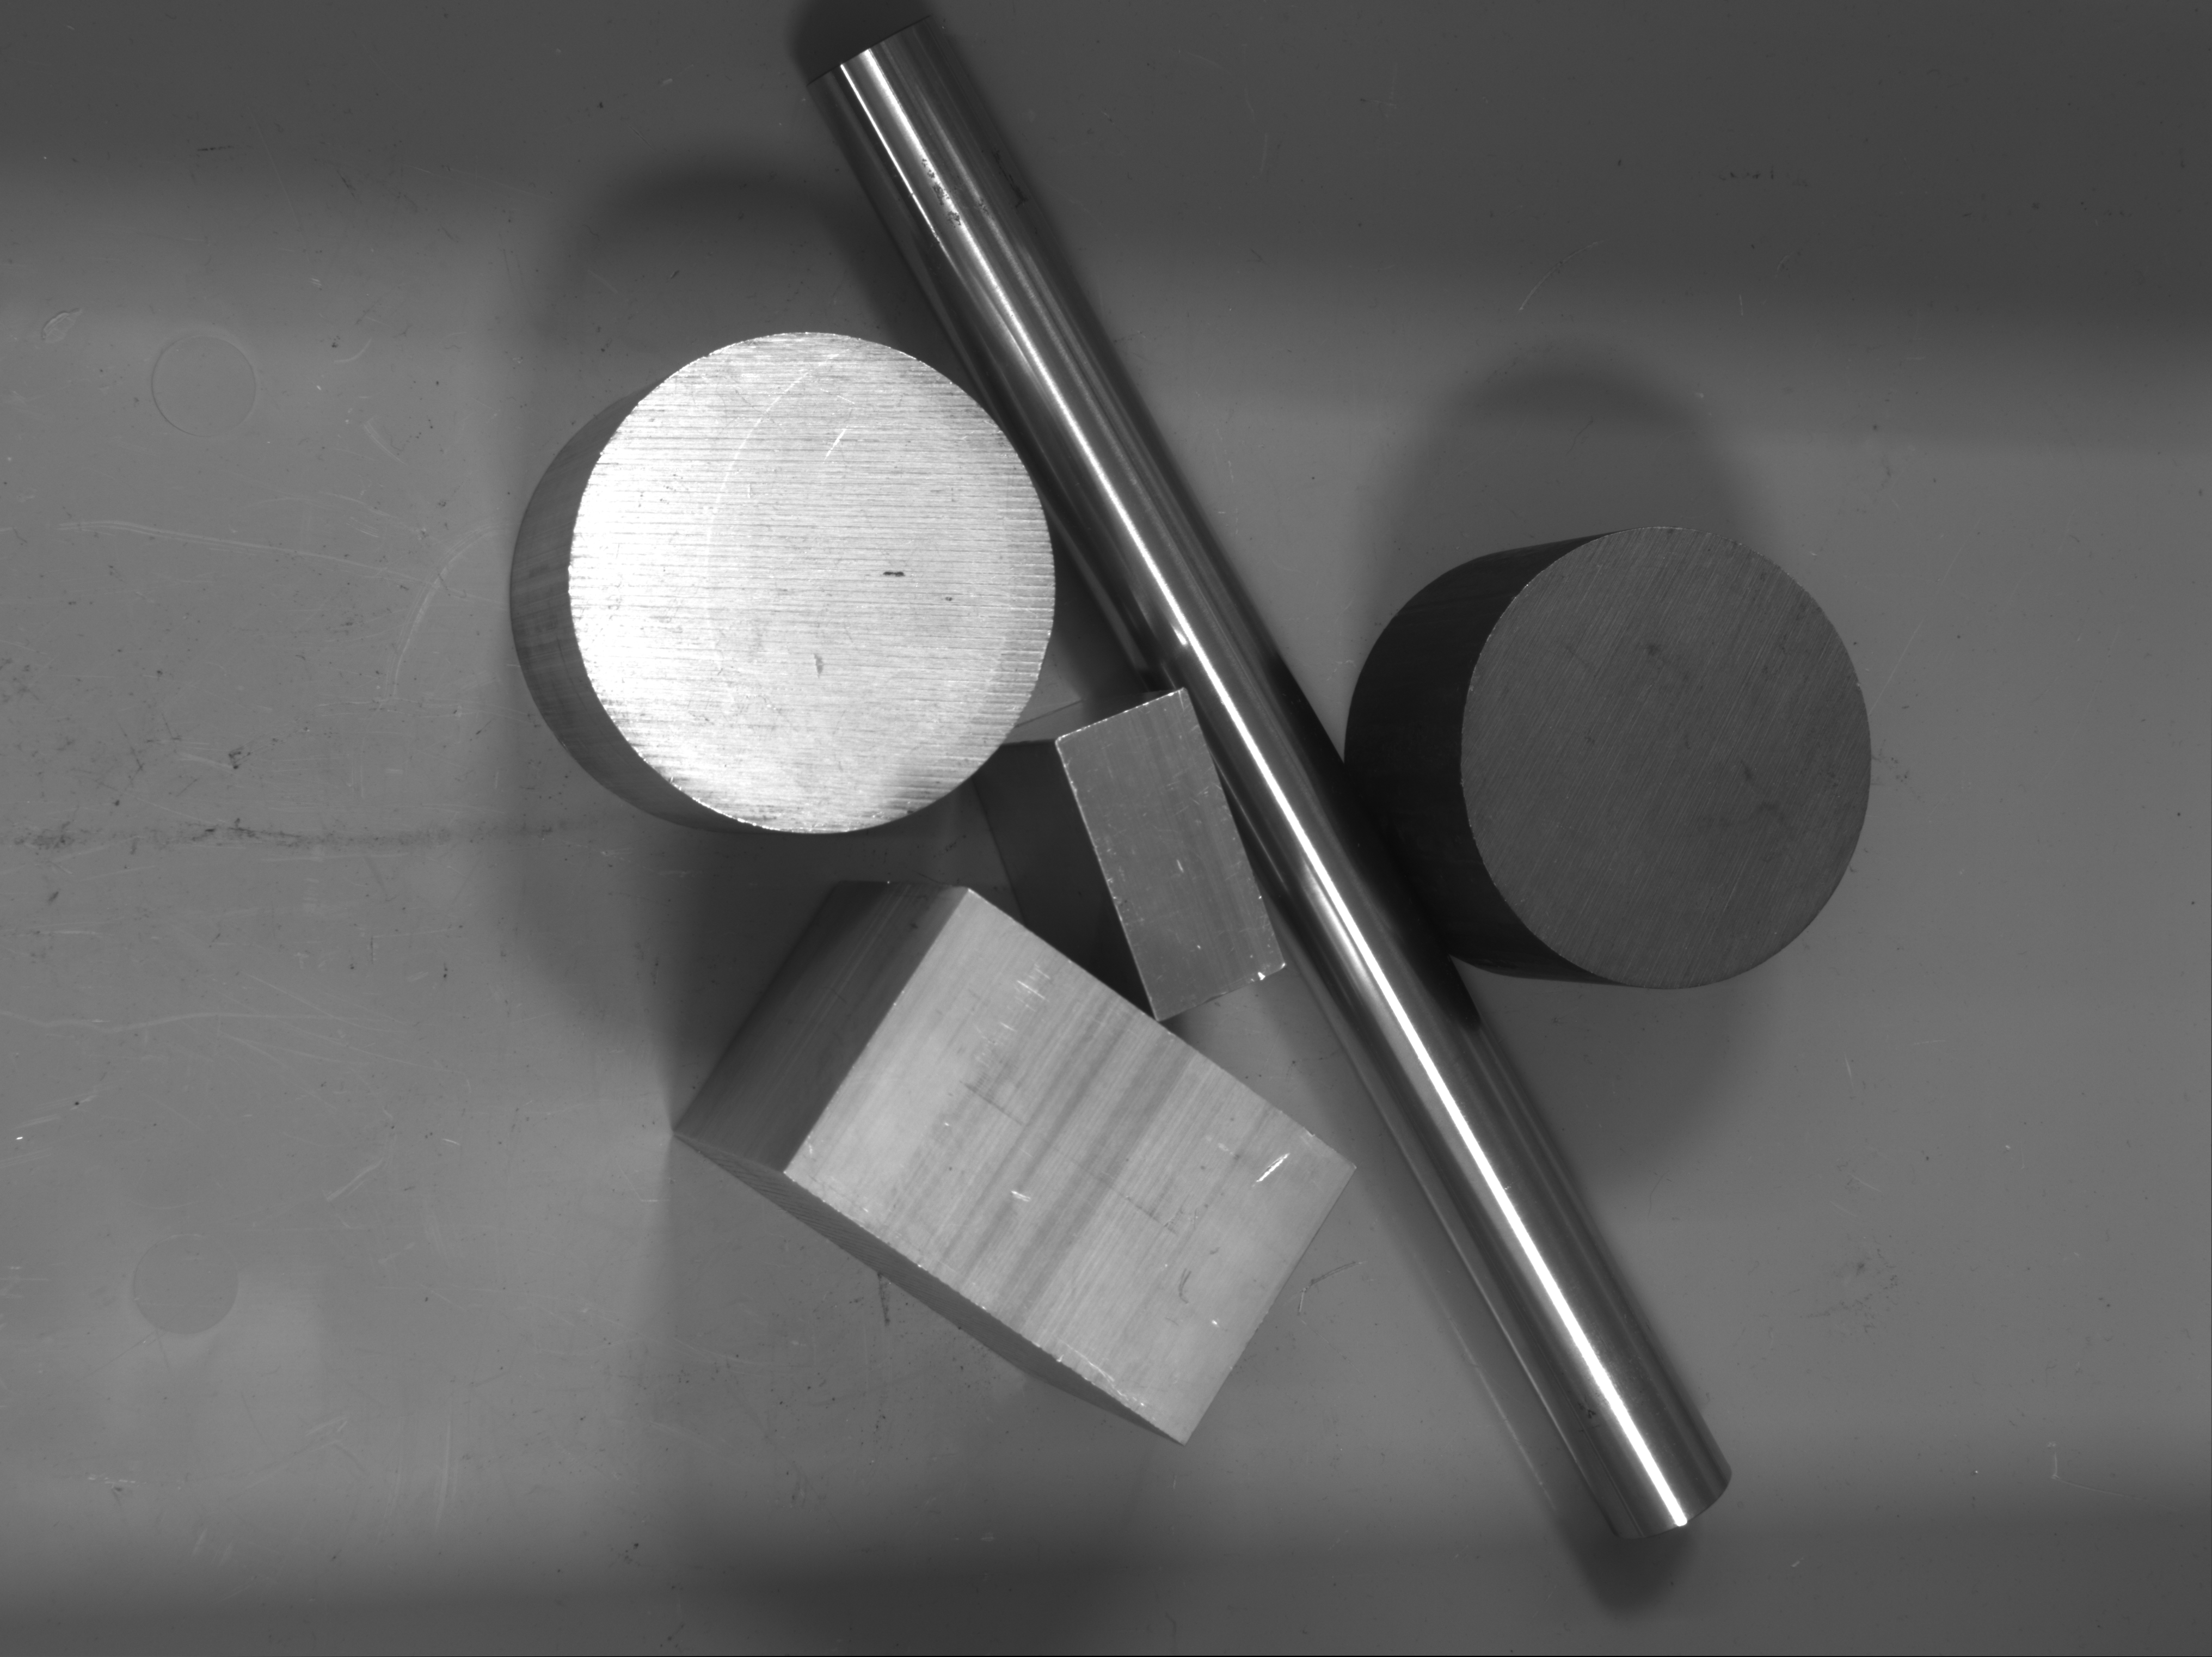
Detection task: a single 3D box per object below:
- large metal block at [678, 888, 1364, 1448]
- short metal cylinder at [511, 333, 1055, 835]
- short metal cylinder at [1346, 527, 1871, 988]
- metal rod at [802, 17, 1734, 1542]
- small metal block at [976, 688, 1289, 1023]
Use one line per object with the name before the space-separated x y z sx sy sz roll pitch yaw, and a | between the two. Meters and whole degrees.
large metal block | -0.016 0.054 0.606 0.080 0.080 0.050 36 79 -16
short metal cylinder | -0.054 -0.039 0.609 0.080 0.050 0.080 0 90 -20
short metal cylinder | 0.090 -0.012 0.661 0.080 0.050 0.080 0 90 -20
metal rod | 0.032 -0.004 0.653 0.025 0.025 0.300 -33 101 -17
small metal block | 0.003 0.005 0.629 0.025 0.050 0.050 -22 97 -18
